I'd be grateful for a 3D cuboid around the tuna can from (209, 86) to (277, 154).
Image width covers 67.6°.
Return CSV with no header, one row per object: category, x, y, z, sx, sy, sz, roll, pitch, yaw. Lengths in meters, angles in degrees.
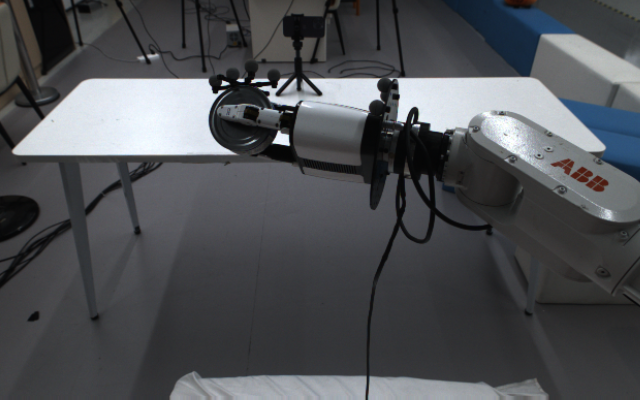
tuna can,-0.095,-0.102,0.628,0.085,0.085,0.034,10,-6,11
